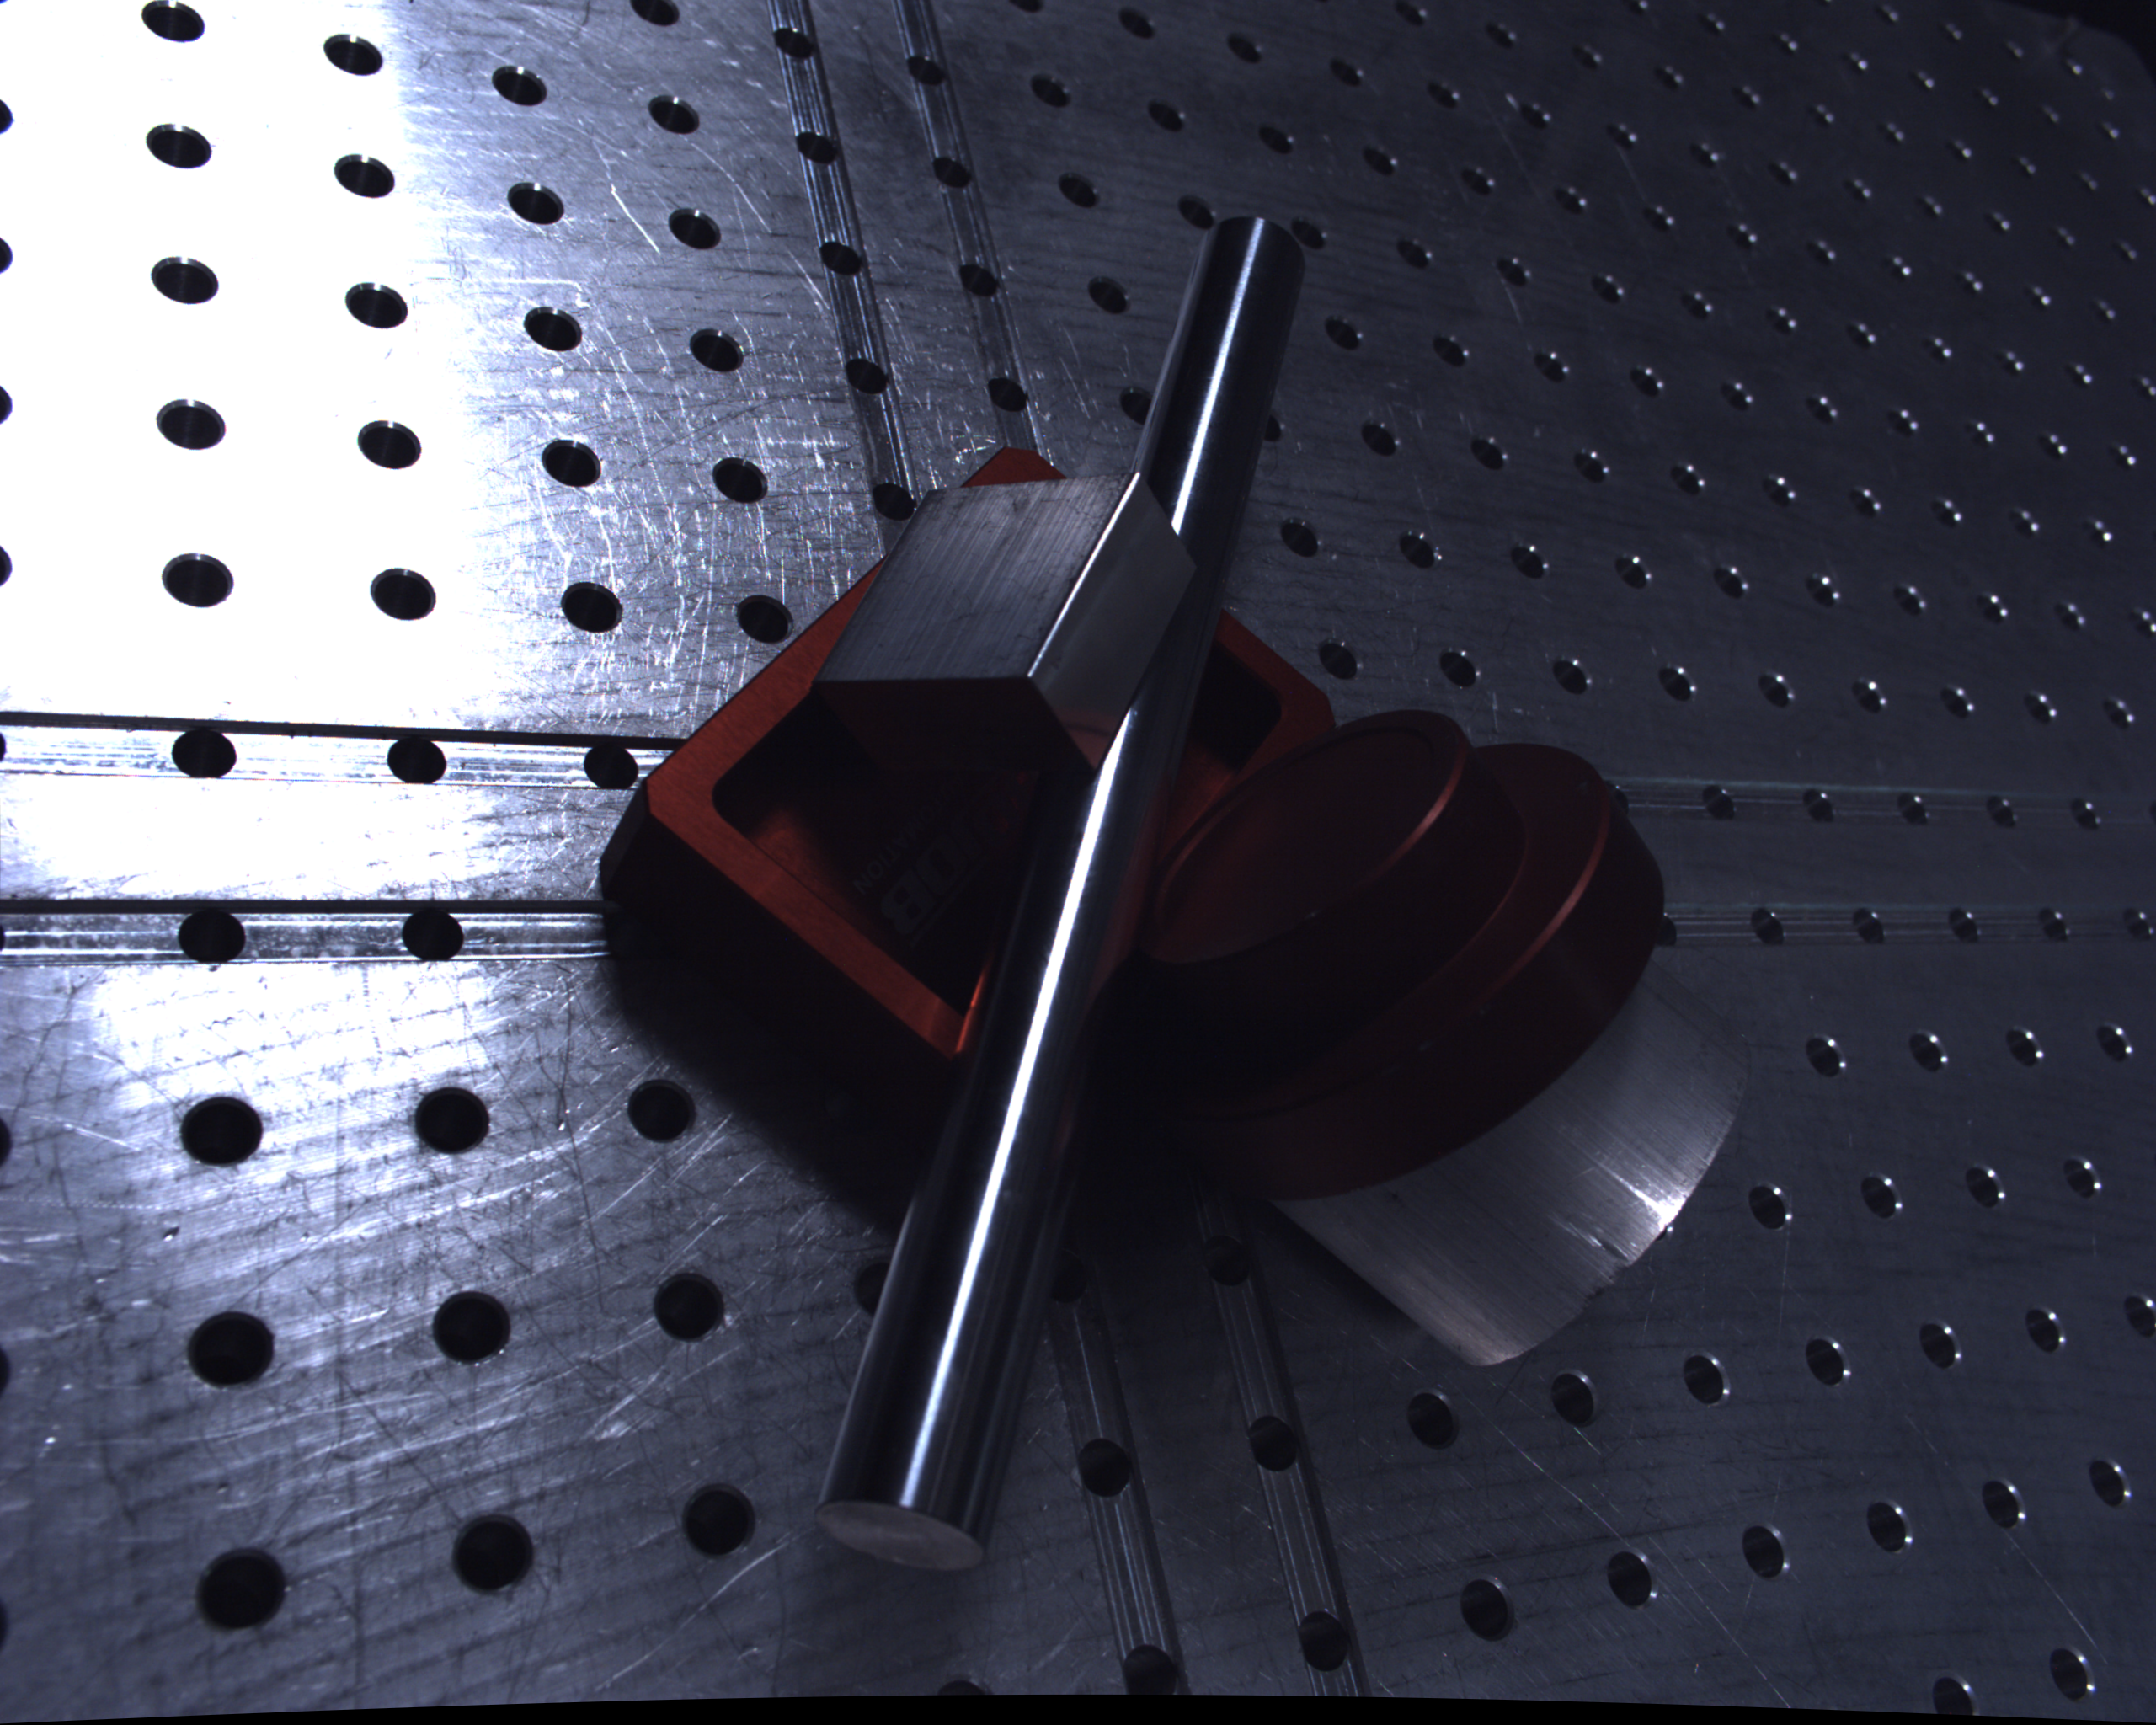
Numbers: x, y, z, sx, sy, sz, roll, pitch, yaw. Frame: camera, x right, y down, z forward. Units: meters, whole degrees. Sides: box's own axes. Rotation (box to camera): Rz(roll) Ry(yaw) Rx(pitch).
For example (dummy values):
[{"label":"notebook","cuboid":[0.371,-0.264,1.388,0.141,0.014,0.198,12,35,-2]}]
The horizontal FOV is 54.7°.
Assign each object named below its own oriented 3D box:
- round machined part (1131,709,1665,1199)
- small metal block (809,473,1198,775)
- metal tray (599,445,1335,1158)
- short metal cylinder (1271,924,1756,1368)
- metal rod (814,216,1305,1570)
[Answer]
[{"label":"round machined part","cuboid":[0.049,0.010,0.370,0.042,0.098,0.098,52,48,-20]},{"label":"small metal block","cuboid":[-0.013,-0.044,0.385,0.025,0.050,0.050,54,51,-41]},{"label":"metal tray","cuboid":[-0.017,-0.015,0.406,0.090,0.030,0.131,40,51,-1]},{"label":"short metal cylinder","cuboid":[0.078,0.046,0.387,0.050,0.080,0.080,40,51,-2]},{"label":"metal rod","cuboid":[0.007,-0.020,0.387,0.025,0.025,0.300,25,53,-13]}]
